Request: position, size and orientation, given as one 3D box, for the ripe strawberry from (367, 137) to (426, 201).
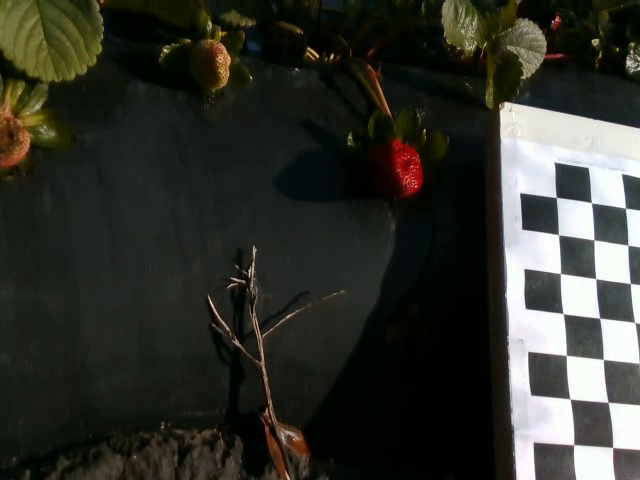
[{"bbox_3d":[0.017,-0.015,0.125,0.015,0.015,0.023,16,19,-9],"label":"ripe strawberry"}]
